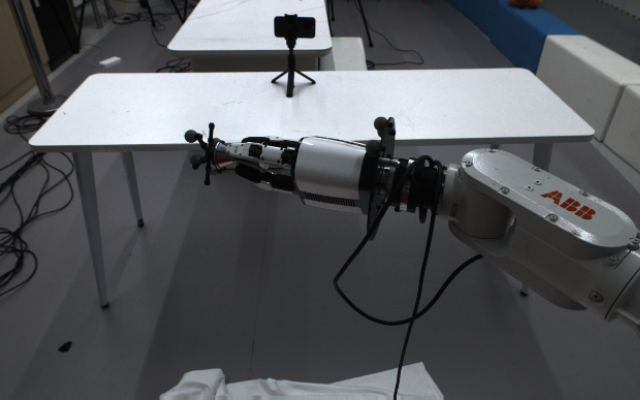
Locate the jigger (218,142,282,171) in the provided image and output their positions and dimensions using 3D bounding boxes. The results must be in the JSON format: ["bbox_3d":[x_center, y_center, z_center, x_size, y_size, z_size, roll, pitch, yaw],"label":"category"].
[{"bbox_3d":[-0.100,-0.065,0.676,0.071,0.043,0.043,4,34,15],"label":"jigger"}]
